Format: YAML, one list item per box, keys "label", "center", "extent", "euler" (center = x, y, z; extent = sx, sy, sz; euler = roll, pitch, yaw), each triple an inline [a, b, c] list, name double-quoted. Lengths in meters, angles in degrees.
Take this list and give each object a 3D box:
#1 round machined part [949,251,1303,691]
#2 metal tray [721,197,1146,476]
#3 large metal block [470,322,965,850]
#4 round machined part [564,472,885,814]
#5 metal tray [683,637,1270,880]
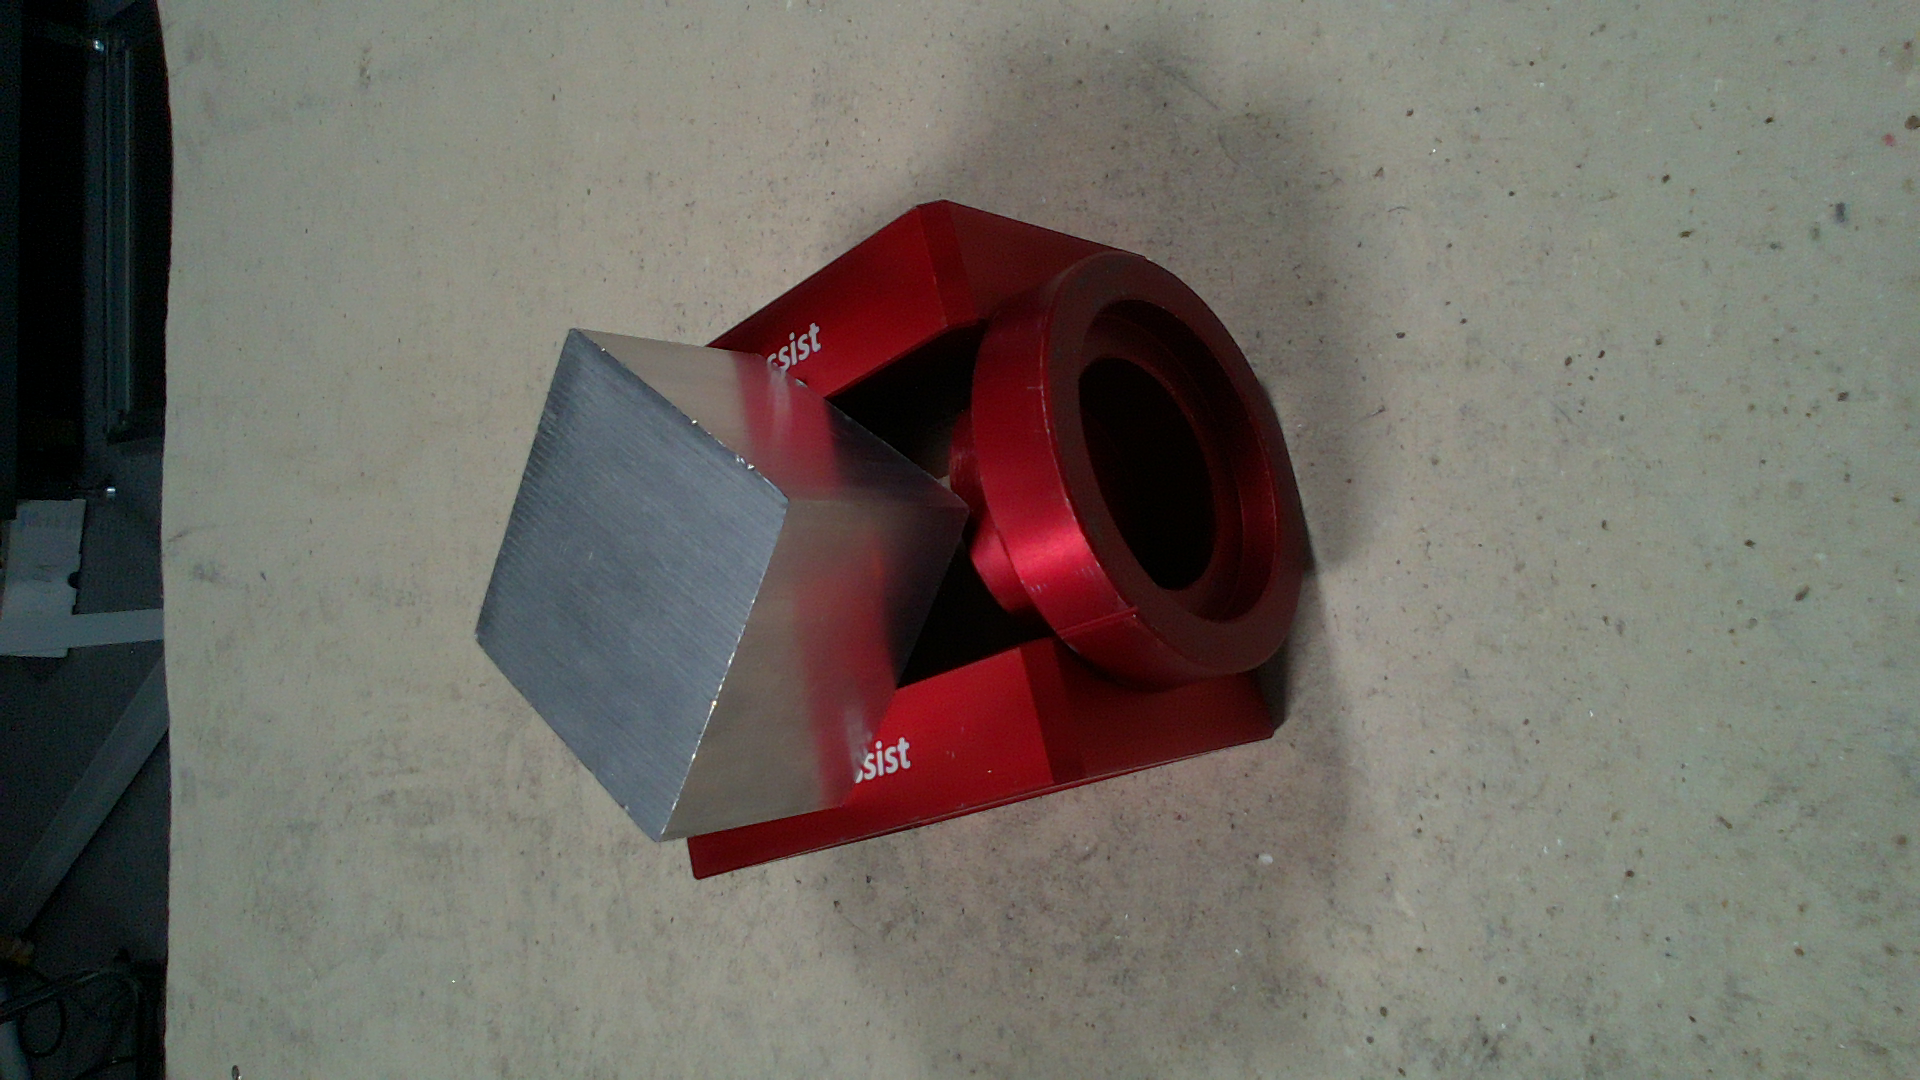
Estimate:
- label: "round machined part"
  center: [0.035, -0.013, 0.317]
  extent: [0.042, 0.098, 0.098]
  euler: [-20, 77, 38]
- label: "metal tray"
  center: [-0.020, -0.041, 0.370]
  extent: [0.129, 0.090, 0.030]
  euler: [-24, 75, 38]
- label: "large metal block"
  center: [-0.057, 0.008, 0.305]
  extent: [0.080, 0.050, 0.080]
  euler: [36, 113, 34]
- label: "round machined part"
  center: [-0.060, 0.027, 0.397]
  extent: [0.042, 0.098, 0.098]
  euler: [-20, 77, 38]
- label: "metal tray"
  center: [0.000, 0.054, 0.350]
  extent: [0.129, 0.090, 0.030]
  euler: [-23, 76, 38]
